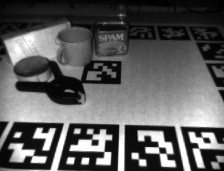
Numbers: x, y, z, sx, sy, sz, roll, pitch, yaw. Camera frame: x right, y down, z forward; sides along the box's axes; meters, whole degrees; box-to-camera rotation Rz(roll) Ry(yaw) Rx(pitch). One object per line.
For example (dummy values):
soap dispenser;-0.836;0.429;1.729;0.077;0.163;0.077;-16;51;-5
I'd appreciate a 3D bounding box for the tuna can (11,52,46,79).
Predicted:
tuna can;-0.213;-0.046;0.545;0.086;0.034;0.085;1;46;0

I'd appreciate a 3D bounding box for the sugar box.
sugar box;-0.207;-0.123;0.591;0.178;0.093;0.045;-26;49;-27

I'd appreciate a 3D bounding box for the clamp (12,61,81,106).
clamp;-0.137;-0.002;0.509;0.163;0.037;0.123;31;47;21

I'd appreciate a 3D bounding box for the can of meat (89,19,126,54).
can of meat;-0.013;-0.140;0.620;0.102;0.084;0.057;-4;43;-7

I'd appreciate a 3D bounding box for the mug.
mug;-0.115;-0.113;0.578;0.092;0.082;0.117;20;49;18
